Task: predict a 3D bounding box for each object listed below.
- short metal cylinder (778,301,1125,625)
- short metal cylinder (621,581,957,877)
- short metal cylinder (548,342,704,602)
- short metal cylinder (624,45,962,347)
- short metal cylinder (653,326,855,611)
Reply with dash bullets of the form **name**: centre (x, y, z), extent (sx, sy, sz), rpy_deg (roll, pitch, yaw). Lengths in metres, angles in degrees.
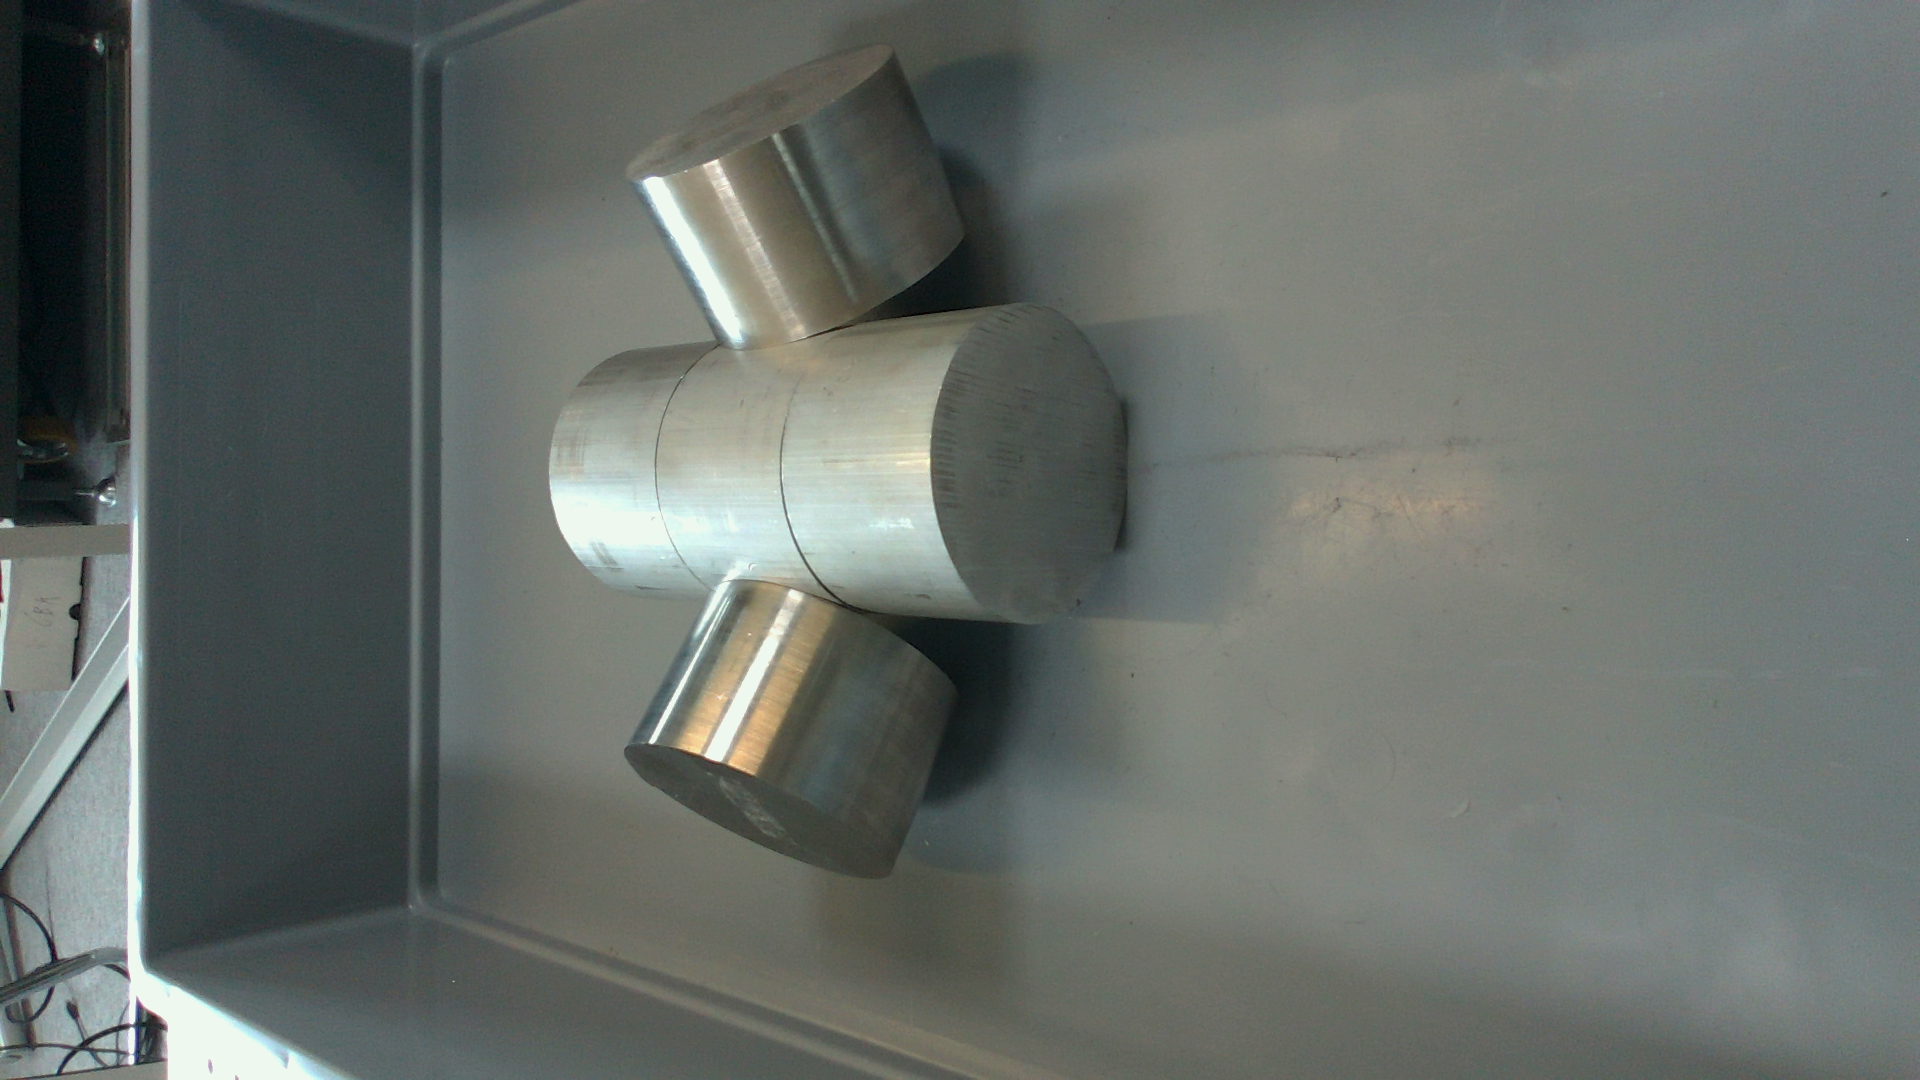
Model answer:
- **short metal cylinder**: centre (0.000, -0.019, 0.358), extent (0.050, 0.080, 0.080), rpy_deg (2, 91, 41)
- **short metal cylinder**: centre (-0.047, 0.054, 0.387), extent (0.080, 0.080, 0.050), rpy_deg (0, 56, 40)
- **short metal cylinder**: centre (-0.077, -0.021, 0.422), extent (0.050, 0.080, 0.080), rpy_deg (2, 91, 41)
- **short metal cylinder**: centre (-0.046, -0.097, 0.386), extent (0.080, 0.080, 0.050), rpy_deg (2, 129, 40)
- **short metal cylinder**: centre (-0.039, -0.020, 0.390), extent (0.050, 0.080, 0.080), rpy_deg (2, 91, 41)
